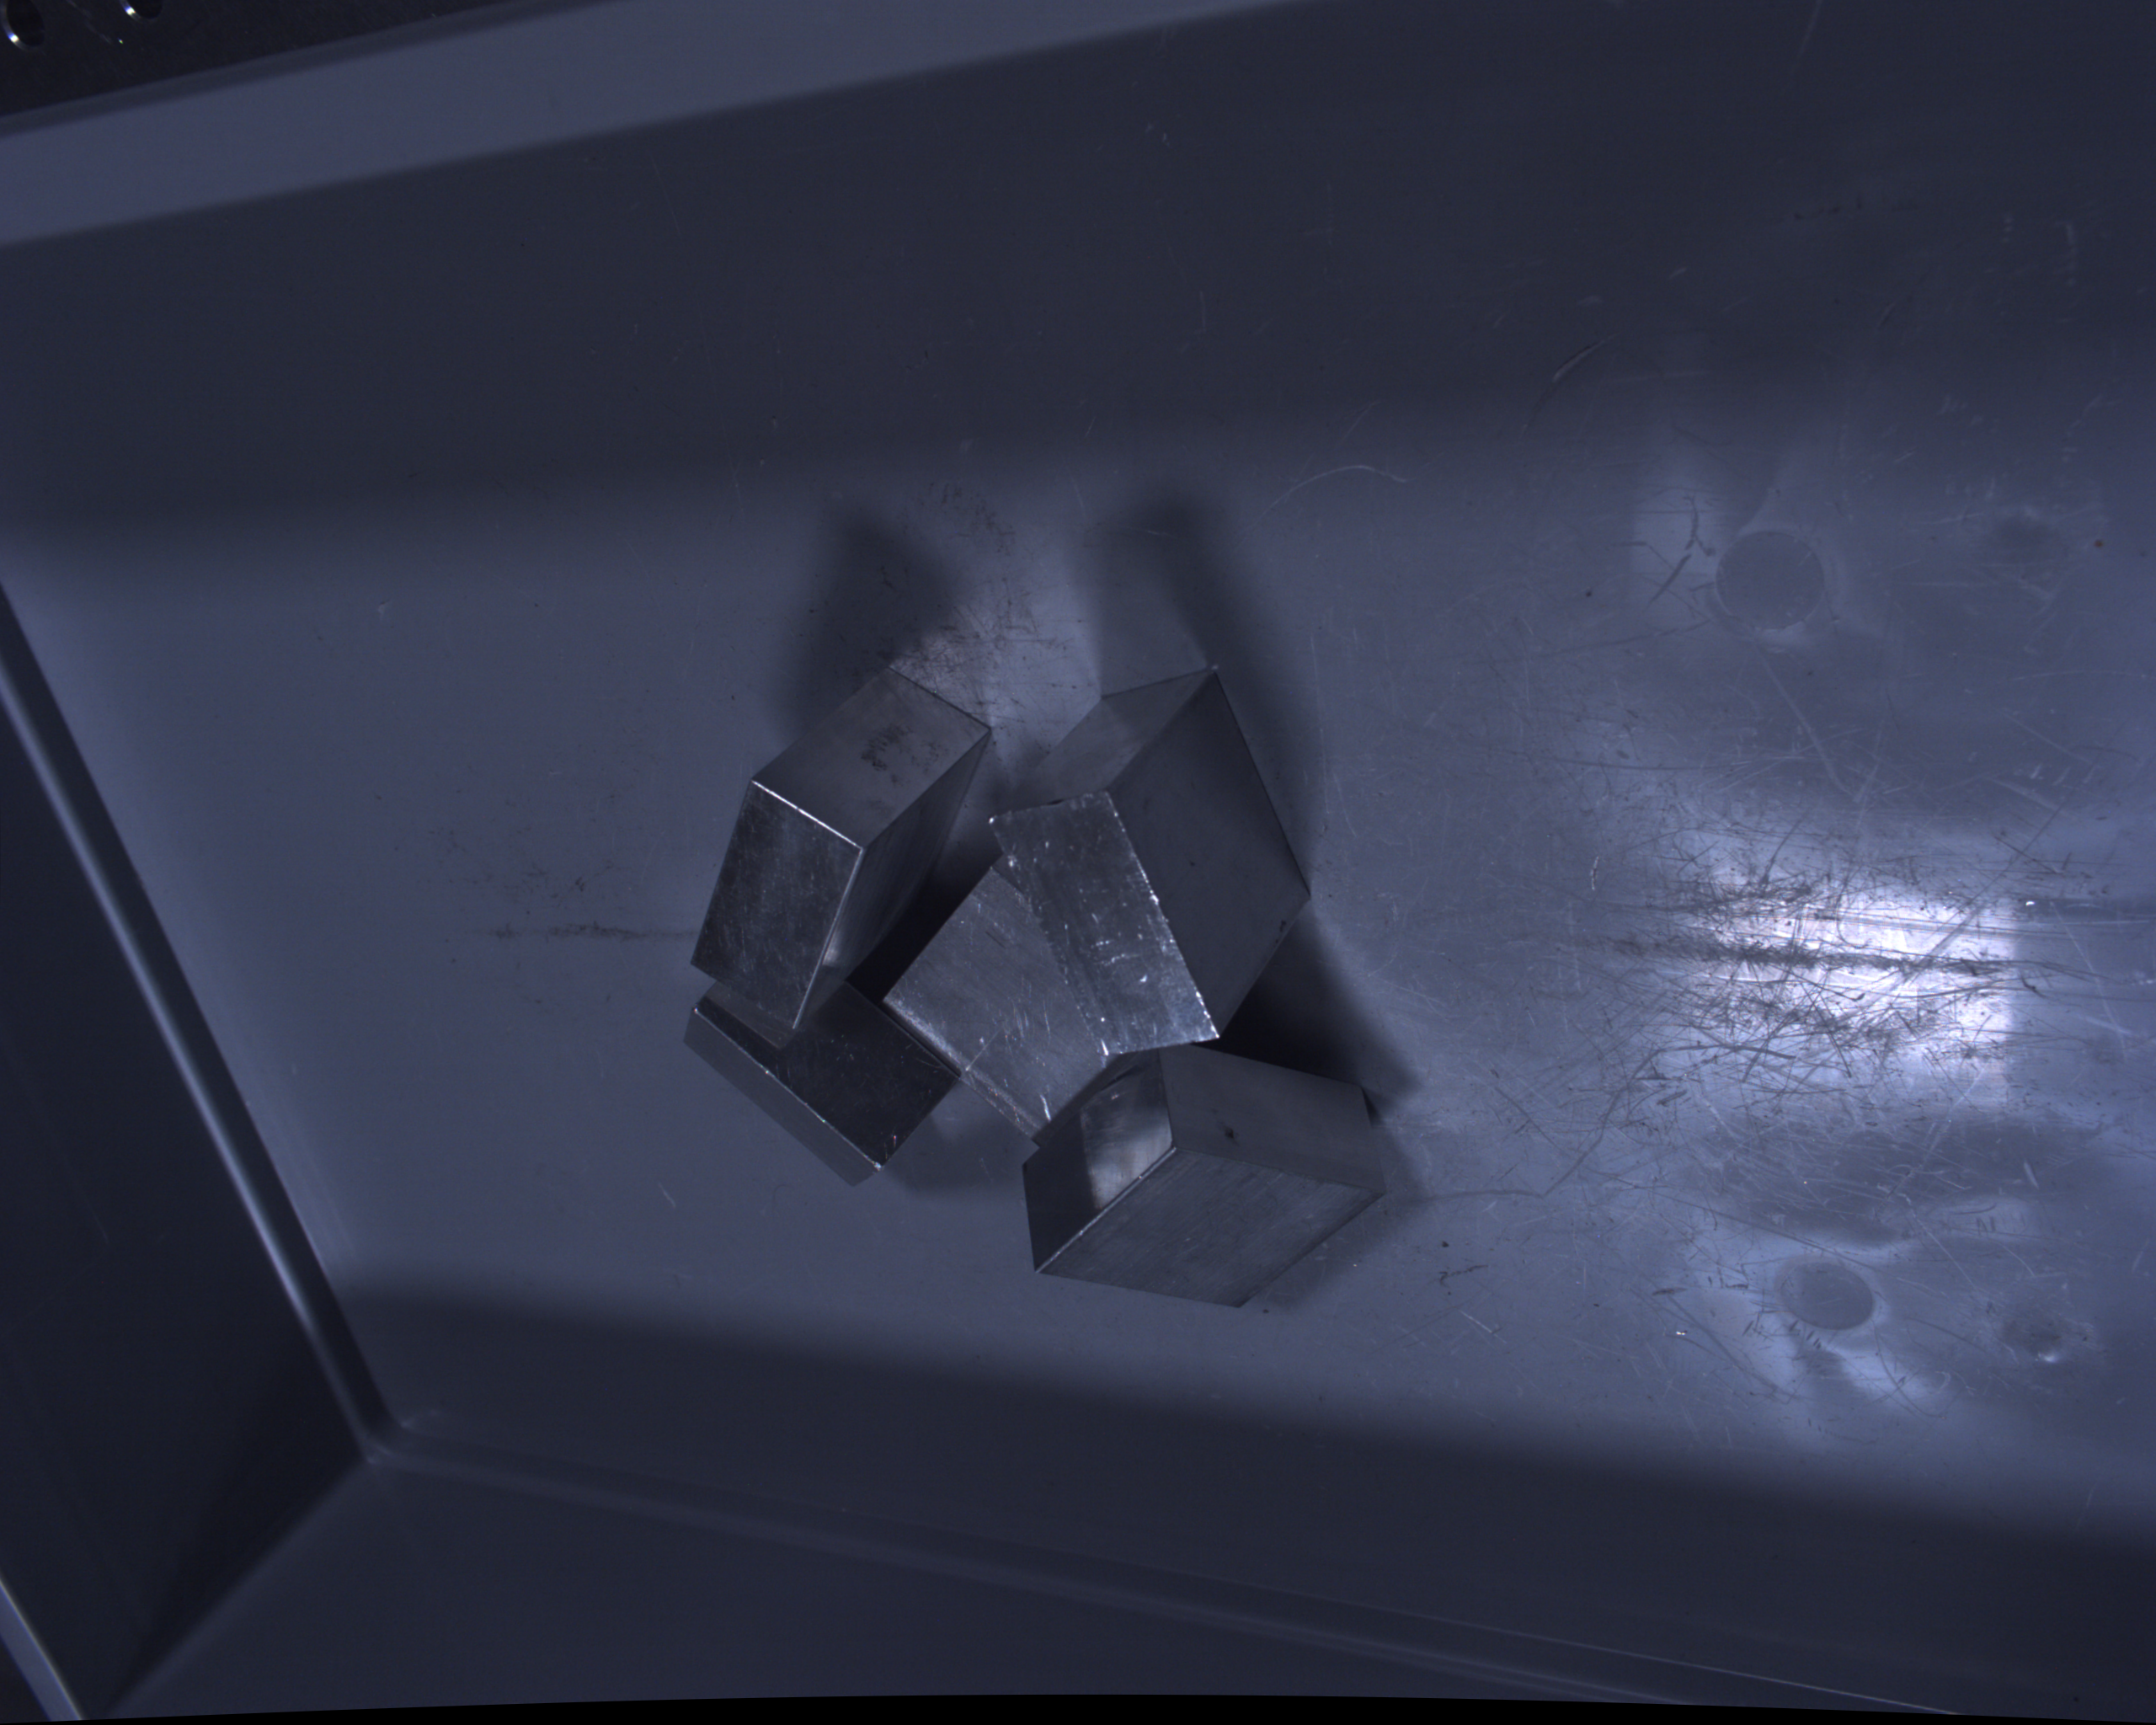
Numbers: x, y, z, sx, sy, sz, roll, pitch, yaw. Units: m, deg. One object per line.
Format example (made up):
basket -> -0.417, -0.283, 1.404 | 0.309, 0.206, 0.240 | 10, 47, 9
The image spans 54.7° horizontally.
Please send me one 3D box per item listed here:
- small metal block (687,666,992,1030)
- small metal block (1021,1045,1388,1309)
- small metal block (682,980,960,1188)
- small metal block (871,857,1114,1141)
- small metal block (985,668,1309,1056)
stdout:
small metal block -> -0.047, -0.003, 0.411 | 0.025, 0.050, 0.050 | 32, 128, 7
small metal block -> 0.024, 0.063, 0.415 | 0.050, 0.025, 0.050 | 16, 135, -29
small metal block -> -0.056, 0.042, 0.445 | 0.050, 0.025, 0.050 | 41, 162, -1
small metal block -> -0.006, 0.025, 0.423 | 0.050, 0.025, 0.050 | 41, 129, 0
small metal block -> 0.014, -0.001, 0.381 | 0.025, 0.050, 0.050 | -12, 112, 32
